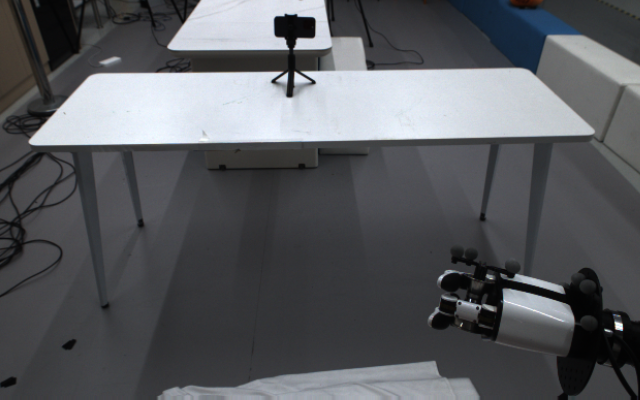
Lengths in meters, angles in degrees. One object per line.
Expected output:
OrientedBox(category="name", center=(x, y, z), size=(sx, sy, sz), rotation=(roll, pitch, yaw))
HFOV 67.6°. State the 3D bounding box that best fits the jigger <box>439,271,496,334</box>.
OrientedBox(category="jigger", center=(0.204, 0.135, 0.639), size=(0.043, 0.071, 0.043), rotation=(14, 1, 0))
